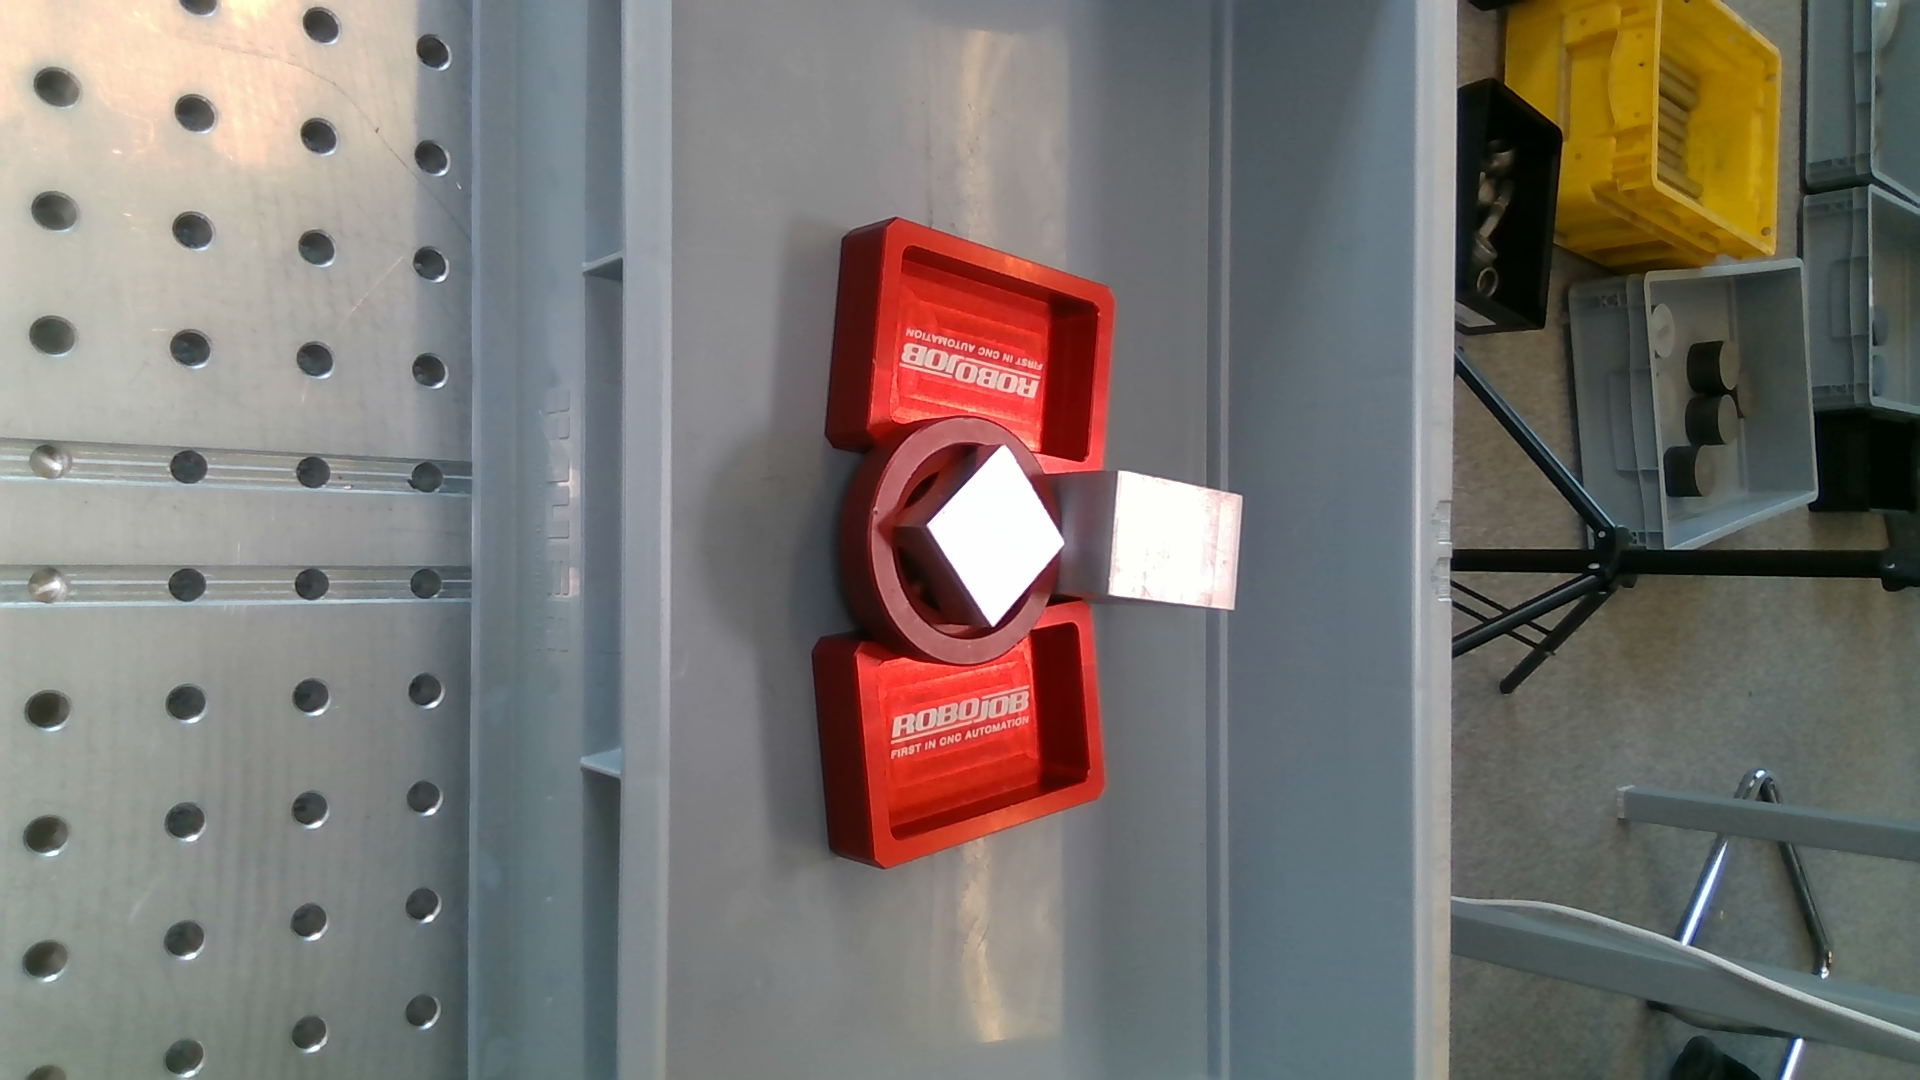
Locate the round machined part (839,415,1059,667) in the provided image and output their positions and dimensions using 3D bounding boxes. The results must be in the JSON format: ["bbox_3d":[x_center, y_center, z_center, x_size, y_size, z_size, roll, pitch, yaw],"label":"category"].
[{"bbox_3d":[-0.009,0.000,0.551,0.098,0.042,0.098,0,90,-40],"label":"round machined part"}]

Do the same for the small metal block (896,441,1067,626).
[{"bbox_3d":[0.008,-0.002,0.533,0.050,0.025,0.050,-47,118,-30],"label":"small metal block"}]

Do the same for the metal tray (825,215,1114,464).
[{"bbox_3d":[0.008,-0.076,0.584,0.130,0.030,0.090,8,85,-40],"label":"metal tray"}]

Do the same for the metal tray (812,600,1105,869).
[{"bbox_3d":[0.003,0.076,0.581,0.130,0.030,0.090,-9,96,-40],"label":"metal tray"}]

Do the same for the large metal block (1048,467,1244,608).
[{"bbox_3d":[0.065,0.000,0.601,0.080,0.080,0.050,8,85,-40],"label":"large metal block"}]
